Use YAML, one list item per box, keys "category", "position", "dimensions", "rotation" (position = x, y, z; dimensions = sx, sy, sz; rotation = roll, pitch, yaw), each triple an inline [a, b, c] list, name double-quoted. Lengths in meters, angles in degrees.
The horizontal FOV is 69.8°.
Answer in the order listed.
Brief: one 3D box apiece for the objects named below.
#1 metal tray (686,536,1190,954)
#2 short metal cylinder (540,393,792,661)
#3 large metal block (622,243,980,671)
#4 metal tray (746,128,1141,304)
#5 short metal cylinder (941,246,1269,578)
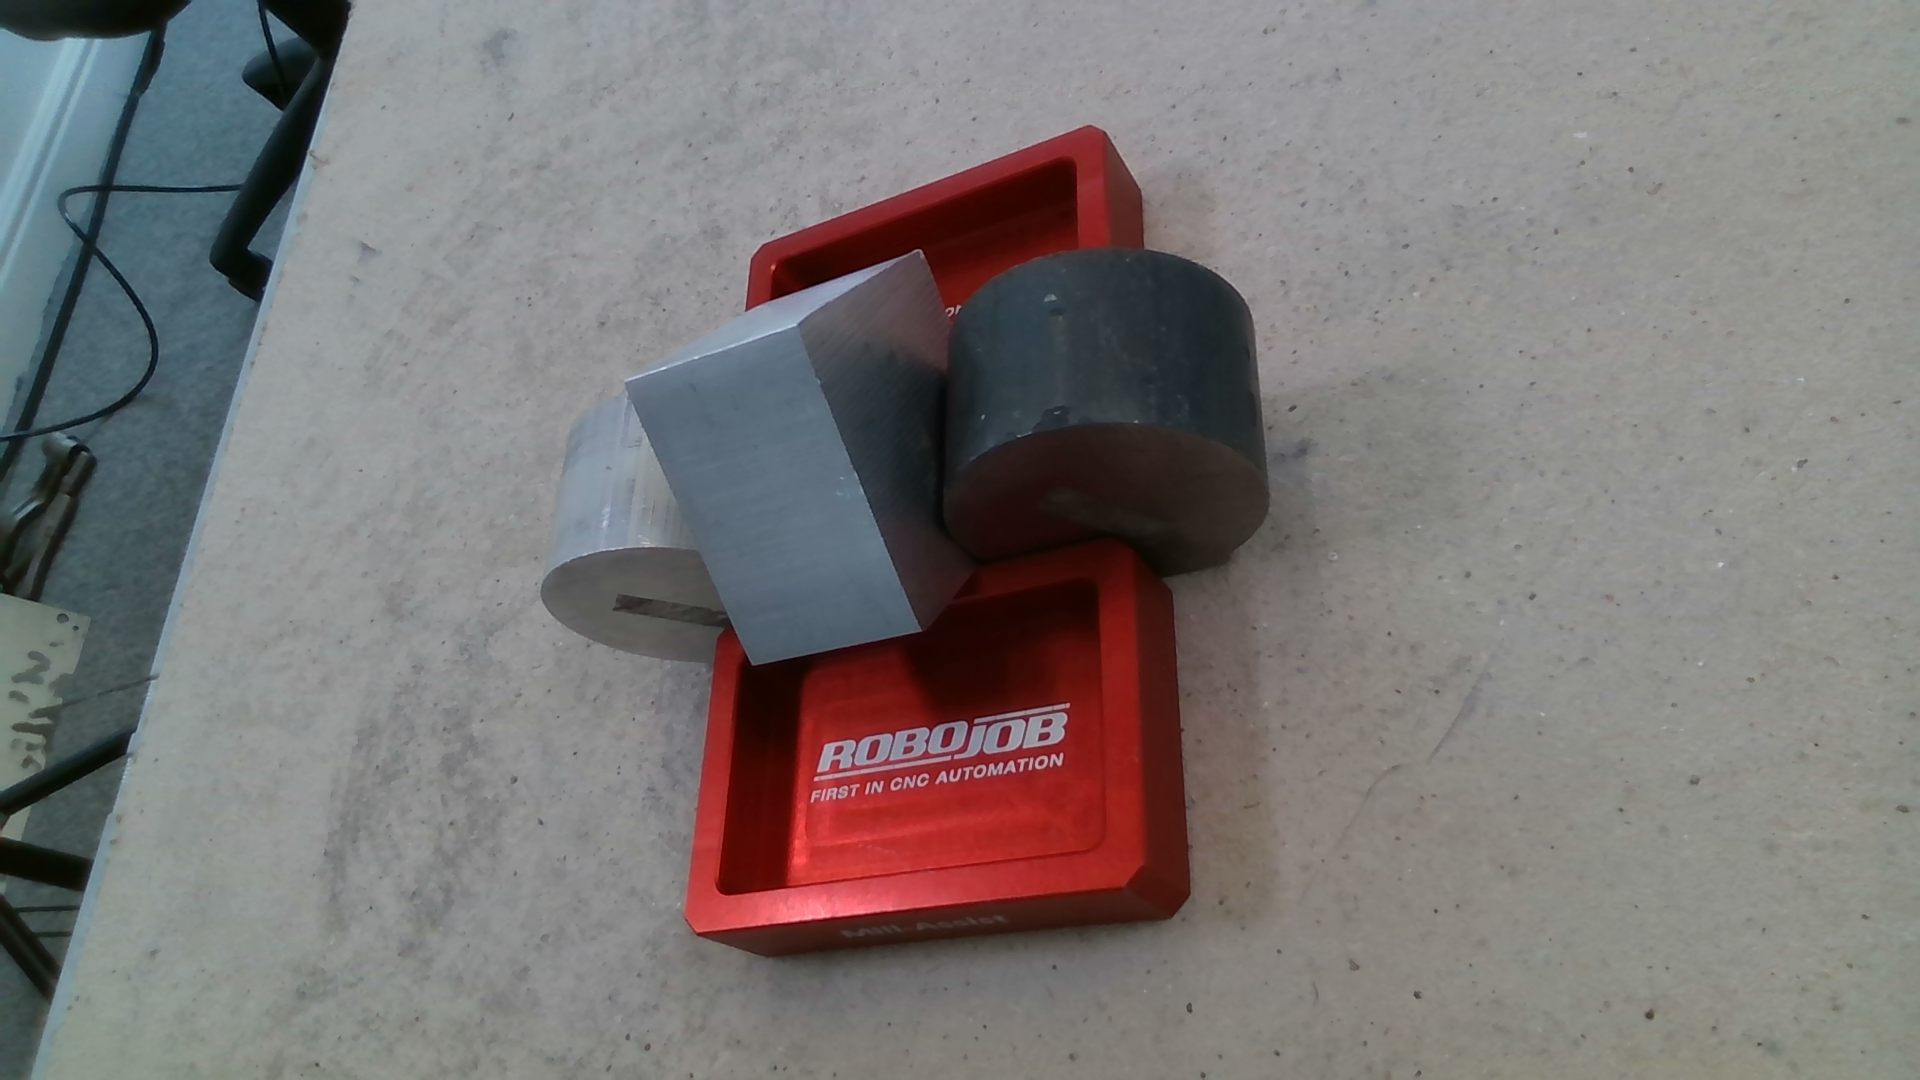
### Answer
- category: "metal tray"
  position: [-0.008, 0.057, 0.365]
  dimensions: [0.130, 0.030, 0.090]
  rotation: [-13, 59, 26]
- category: "short metal cylinder"
  position: [-0.079, -0.002, 0.407]
  dimensions: [0.080, 0.080, 0.050]
  rotation: [-13, 60, 26]
- category: "large metal block"
  position: [-0.031, -0.024, 0.363]
  dimensions: [0.050, 0.080, 0.080]
  rotation: [-13, 19, 26]
- category: "metal tray"
  position: [-0.008, -0.066, 0.430]
  dimensions: [0.130, 0.030, 0.090]
  rotation: [-13, 59, 26]
- category: "short metal cylinder"
  position: [0.036, -0.029, 0.351]
  dimensions: [0.080, 0.080, 0.050]
  rotation: [-13, 60, 26]
